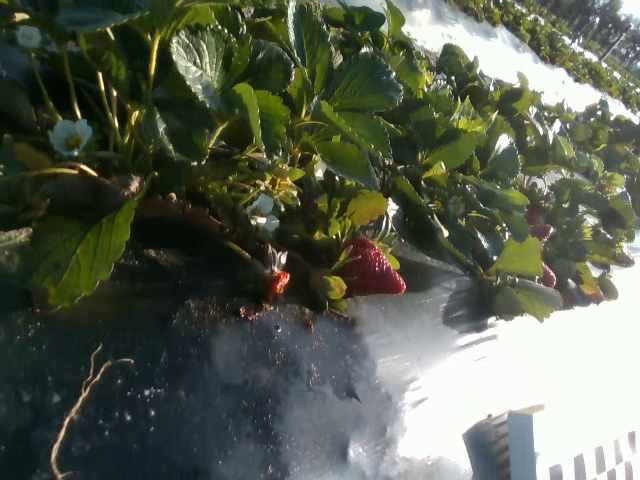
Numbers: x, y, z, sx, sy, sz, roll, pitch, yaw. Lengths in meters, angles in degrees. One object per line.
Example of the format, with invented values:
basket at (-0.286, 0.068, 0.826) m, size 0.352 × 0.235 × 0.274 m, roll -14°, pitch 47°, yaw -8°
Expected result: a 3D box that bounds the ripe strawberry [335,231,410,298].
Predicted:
ripe strawberry at (0.038, 0.022, 0.414) m, size 0.051 × 0.041 × 0.052 m, roll 25°, pitch 39°, yaw 25°
